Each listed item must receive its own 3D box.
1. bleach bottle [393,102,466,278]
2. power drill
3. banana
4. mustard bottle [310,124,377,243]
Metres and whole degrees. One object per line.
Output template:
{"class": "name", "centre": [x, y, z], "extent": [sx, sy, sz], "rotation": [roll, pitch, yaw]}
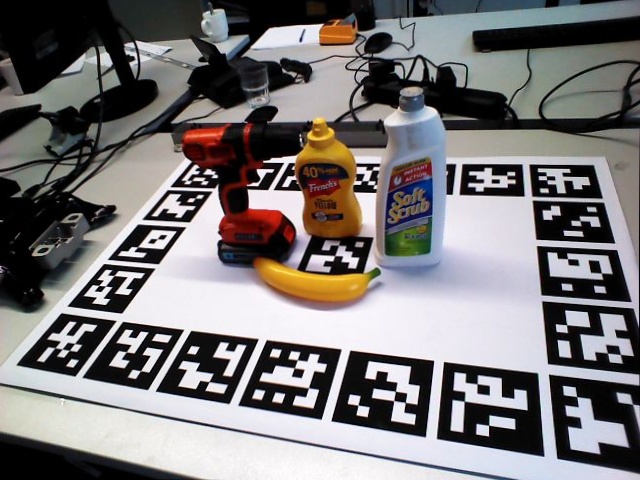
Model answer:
{"class": "bleach bottle", "centre": [0.142, -0.060, 0.689], "extent": [0.103, 0.251, 0.067], "rotation": [-3, 39, 10]}
{"class": "power drill", "centre": [-0.081, -0.067, 0.756], "extent": [0.185, 0.187, 0.057], "rotation": [3, 33, 12]}
{"class": "banana", "centre": [0.014, 0.061, 0.721], "extent": [0.198, 0.039, 0.073], "rotation": [3, 44, 20]}
{"class": "mustard bottle", "centre": [0.035, -0.085, 0.782], "extent": [0.097, 0.192, 0.058], "rotation": [4, 39, 16]}
